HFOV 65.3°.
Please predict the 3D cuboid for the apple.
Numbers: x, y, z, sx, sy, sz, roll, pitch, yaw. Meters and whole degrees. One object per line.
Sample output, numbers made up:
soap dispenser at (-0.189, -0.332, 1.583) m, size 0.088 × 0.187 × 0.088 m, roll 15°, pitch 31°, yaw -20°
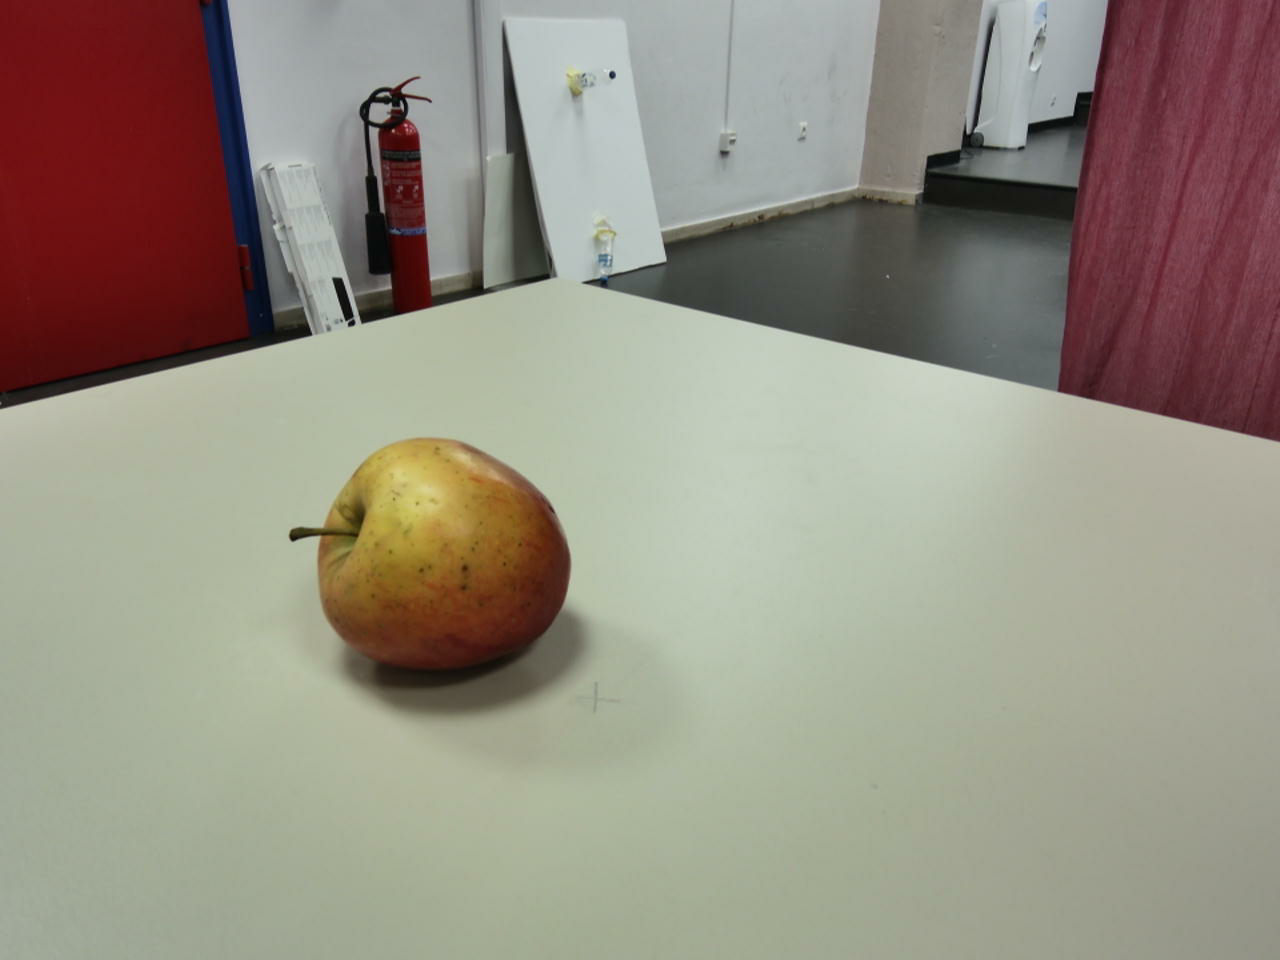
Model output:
apple at (-0.074, 0.029, 0.374) m, size 0.093 × 0.084 × 0.086 m, roll 1°, pitch 22°, yaw 3°
